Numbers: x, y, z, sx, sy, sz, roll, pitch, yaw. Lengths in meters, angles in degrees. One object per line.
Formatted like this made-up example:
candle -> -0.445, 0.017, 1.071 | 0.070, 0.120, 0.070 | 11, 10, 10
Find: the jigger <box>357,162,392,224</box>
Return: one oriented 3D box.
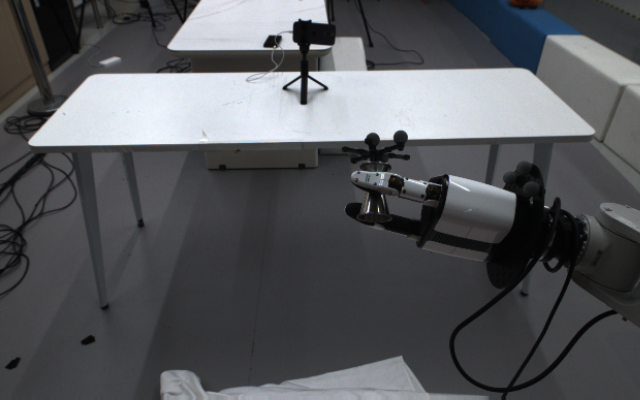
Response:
jigger -> 0.067, -0.011, 0.605 | 0.043, 0.043, 0.071 | 3, 75, 1
